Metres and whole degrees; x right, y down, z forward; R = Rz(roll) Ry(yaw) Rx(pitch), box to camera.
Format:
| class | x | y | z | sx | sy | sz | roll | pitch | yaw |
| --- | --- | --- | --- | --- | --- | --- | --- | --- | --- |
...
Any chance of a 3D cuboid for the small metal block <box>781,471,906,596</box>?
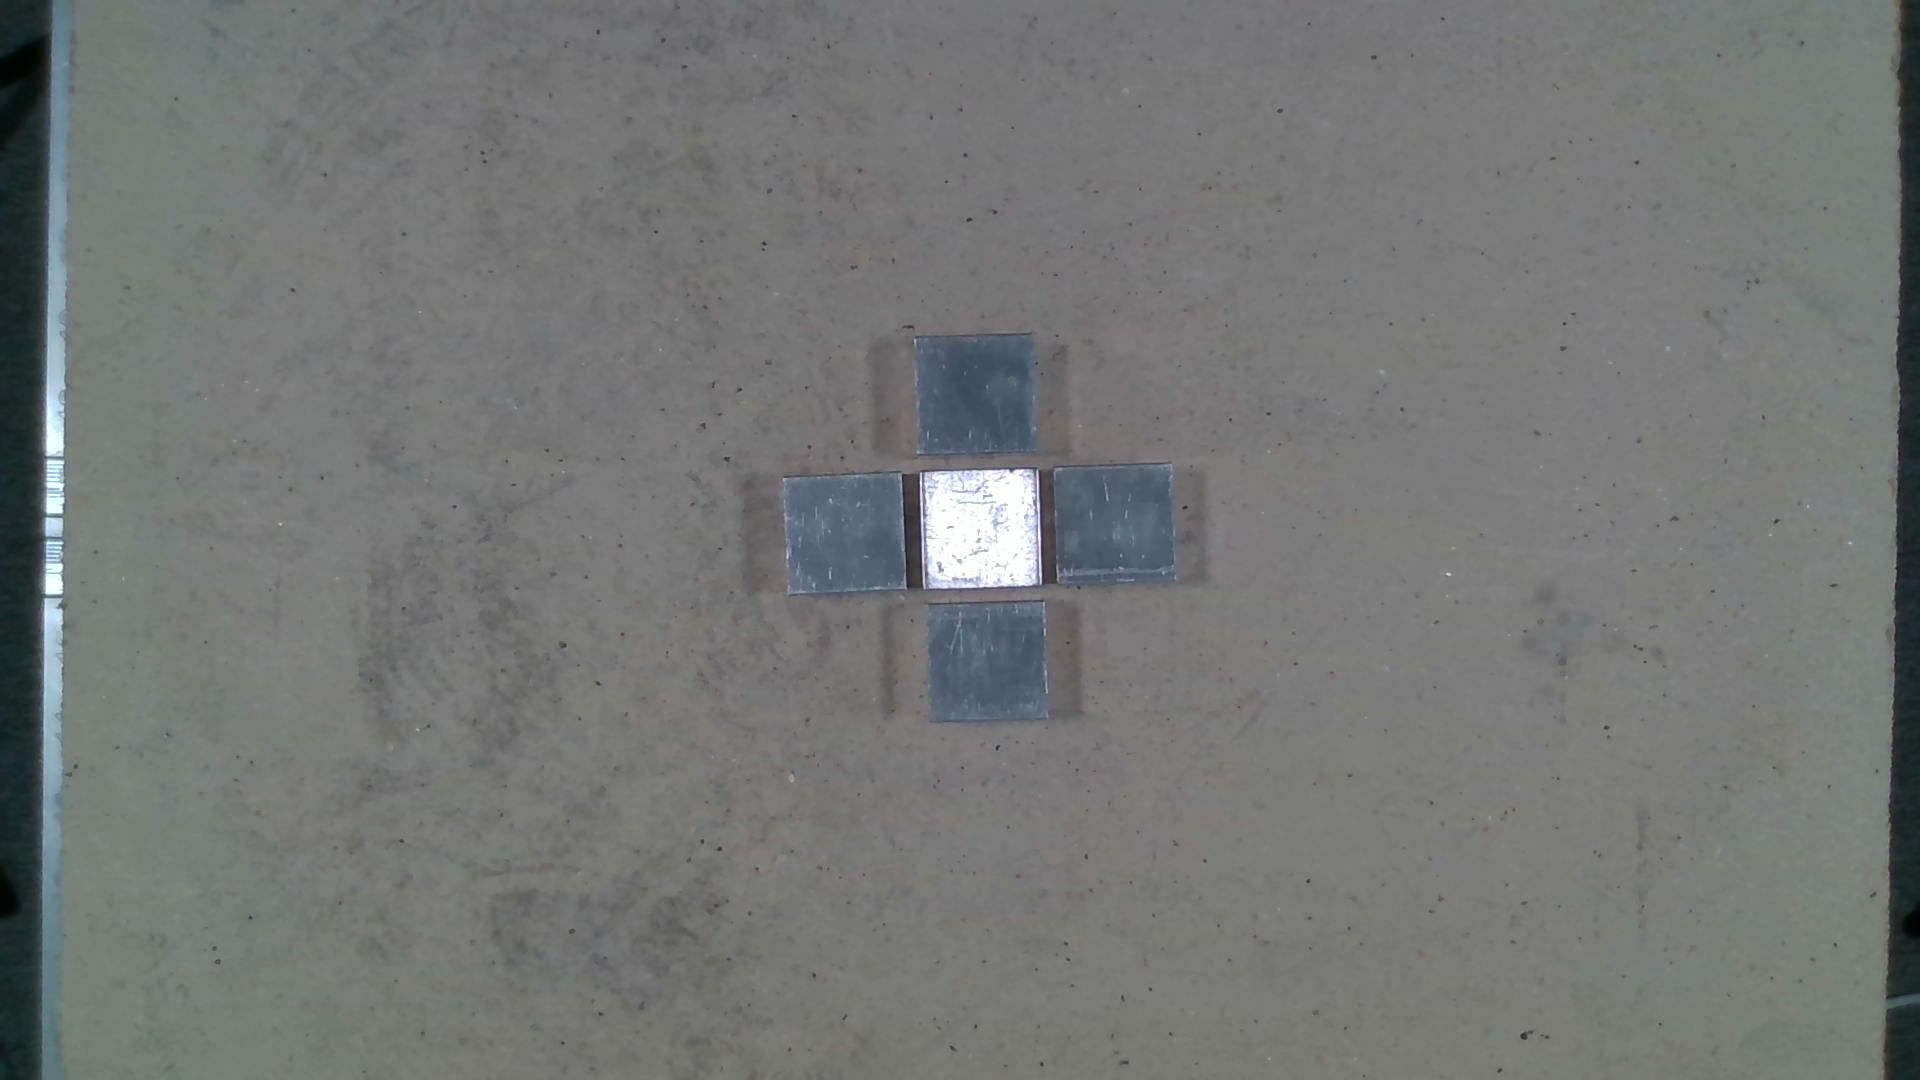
| class | x | y | z | sx | sy | sz | roll | pitch | yaw |
| --- | --- | --- | --- | --- | --- | --- | --- | --- | --- |
| small metal block | -0.049 | -0.003 | 0.587 | 0.050 | 0.025 | 0.050 | -2 | 90 | 0 |

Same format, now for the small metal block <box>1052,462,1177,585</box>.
| class | x | y | z | sx | sy | sz | roll | pitch | yaw |
| --- | --- | --- | --- | --- | --- | --- | --- | --- | --- |
| small metal block | 0.065 | -0.007 | 0.587 | 0.050 | 0.025 | 0.050 | -2 | 90 | 0 |

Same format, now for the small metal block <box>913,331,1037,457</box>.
| class | x | y | z | sx | sy | sz | roll | pitch | yaw |
| --- | --- | --- | --- | --- | --- | --- | --- | --- | --- |
| small metal block | 0.006 | -0.061 | 0.587 | 0.050 | 0.025 | 0.050 | -2 | 90 | 0 |

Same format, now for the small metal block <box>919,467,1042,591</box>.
| class | x | y | z | sx | sy | sz | roll | pitch | yaw |
| --- | --- | --- | --- | --- | --- | --- | --- | --- | --- |
| small metal block | 0.009 | -0.005 | 0.587 | 0.050 | 0.025 | 0.050 | -2 | 90 | 0 |

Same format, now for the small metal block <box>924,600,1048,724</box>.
| class | x | y | z | sx | sy | sz | roll | pitch | yaw |
| --- | --- | --- | --- | --- | --- | --- | --- | --- | --- |
| small metal block | 0.011 | 0.051 | 0.588 | 0.050 | 0.025 | 0.050 | -2 | 90 | 0 |
